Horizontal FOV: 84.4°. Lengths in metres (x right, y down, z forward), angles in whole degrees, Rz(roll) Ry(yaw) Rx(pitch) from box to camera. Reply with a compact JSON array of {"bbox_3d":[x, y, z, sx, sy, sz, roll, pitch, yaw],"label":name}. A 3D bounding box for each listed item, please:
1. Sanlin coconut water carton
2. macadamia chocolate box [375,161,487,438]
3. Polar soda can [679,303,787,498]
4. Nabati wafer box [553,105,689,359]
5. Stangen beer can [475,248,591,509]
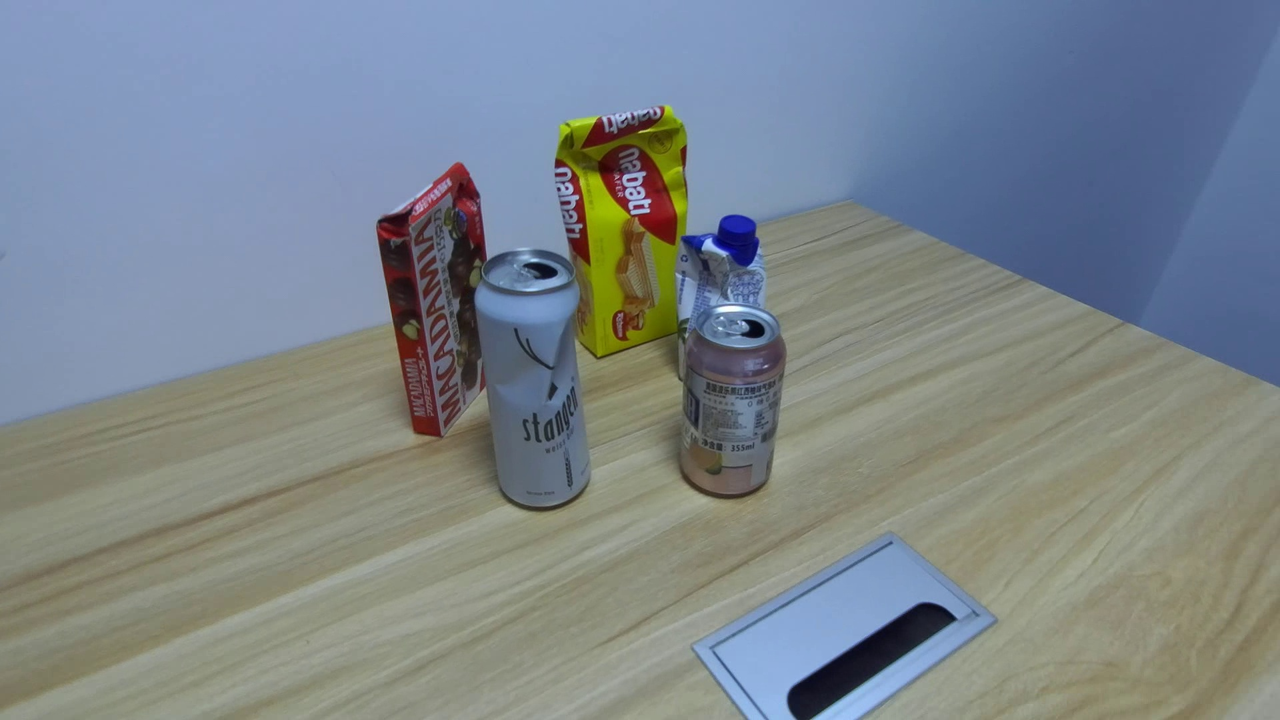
[{"bbox_3d":[0.066,-0.048,0.574,0.068,0.145,0.057,22,33,39],"label":"Sanlin coconut water carton"},{"bbox_3d":[-0.148,-0.044,0.536,0.027,0.187,0.103,13,36,12],"label":"macadamia chocolate box"},{"bbox_3d":[0.061,0.028,0.478,0.067,0.126,0.067,-1,31,1],"label":"Polar soda can"},{"bbox_3d":[-0.011,-0.106,0.608,0.113,0.205,0.042,-20,37,-25],"label":"Nabati wafer box"},{"bbox_3d":[-0.066,0.015,0.459,0.070,0.173,0.069,-23,40,-30],"label":"Stangen beer can"}]
